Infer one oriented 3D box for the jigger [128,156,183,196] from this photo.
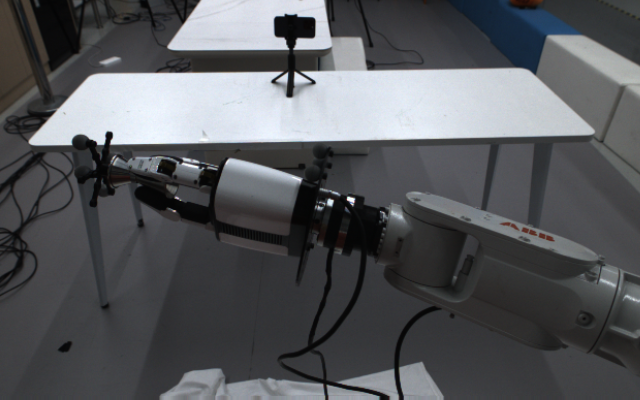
[{"bbox_3d":[-0.196,-0.031,0.557,0.071,0.043,0.043,8,35,2],"label":"jigger"}]
